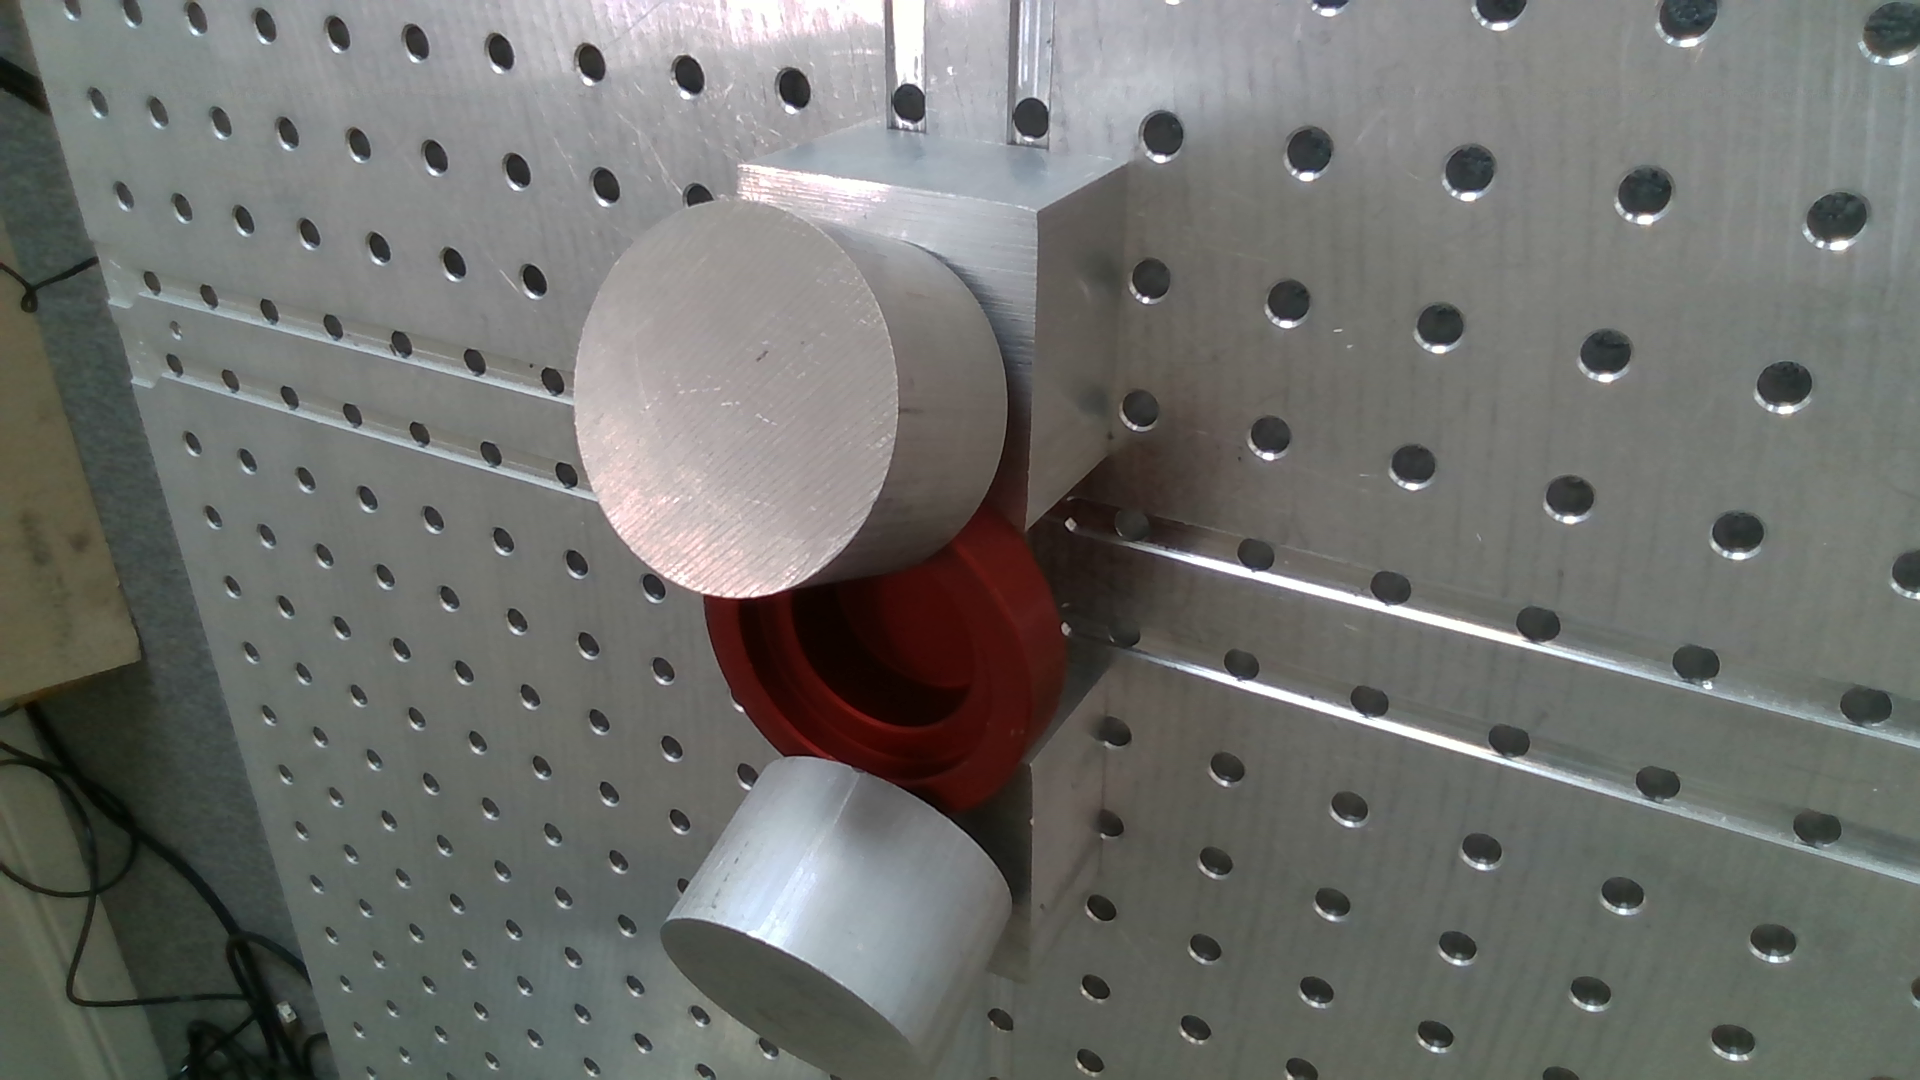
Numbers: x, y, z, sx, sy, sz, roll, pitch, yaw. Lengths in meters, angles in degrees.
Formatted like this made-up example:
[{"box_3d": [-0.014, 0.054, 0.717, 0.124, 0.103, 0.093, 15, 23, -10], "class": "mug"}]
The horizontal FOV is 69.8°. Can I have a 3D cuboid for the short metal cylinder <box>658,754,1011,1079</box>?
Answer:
[{"box_3d": [-0.033, 0.103, 0.371, 0.080, 0.050, 0.080, 21, 144, 16], "class": "short metal cylinder"}]

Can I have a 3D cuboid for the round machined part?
[{"box_3d": [-0.017, 0.020, 0.364, 0.098, 0.042, 0.098, 15, 122, 25], "class": "round machined part"}]

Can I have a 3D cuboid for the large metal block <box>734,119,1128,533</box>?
[{"box_3d": [-0.007, -0.057, 0.349, 0.080, 0.050, 0.080, 15, 122, 24], "class": "large metal block"}]

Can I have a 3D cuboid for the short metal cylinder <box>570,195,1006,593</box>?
[{"box_3d": [-0.037, -0.031, 0.300, 0.080, 0.050, 0.080, 2, 95, 27], "class": "short metal cylinder"}]

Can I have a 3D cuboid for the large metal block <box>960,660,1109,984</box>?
[{"box_3d": [-0.003, 0.075, 0.419, 0.080, 0.050, 0.080, 14, 121, 25], "class": "large metal block"}]
